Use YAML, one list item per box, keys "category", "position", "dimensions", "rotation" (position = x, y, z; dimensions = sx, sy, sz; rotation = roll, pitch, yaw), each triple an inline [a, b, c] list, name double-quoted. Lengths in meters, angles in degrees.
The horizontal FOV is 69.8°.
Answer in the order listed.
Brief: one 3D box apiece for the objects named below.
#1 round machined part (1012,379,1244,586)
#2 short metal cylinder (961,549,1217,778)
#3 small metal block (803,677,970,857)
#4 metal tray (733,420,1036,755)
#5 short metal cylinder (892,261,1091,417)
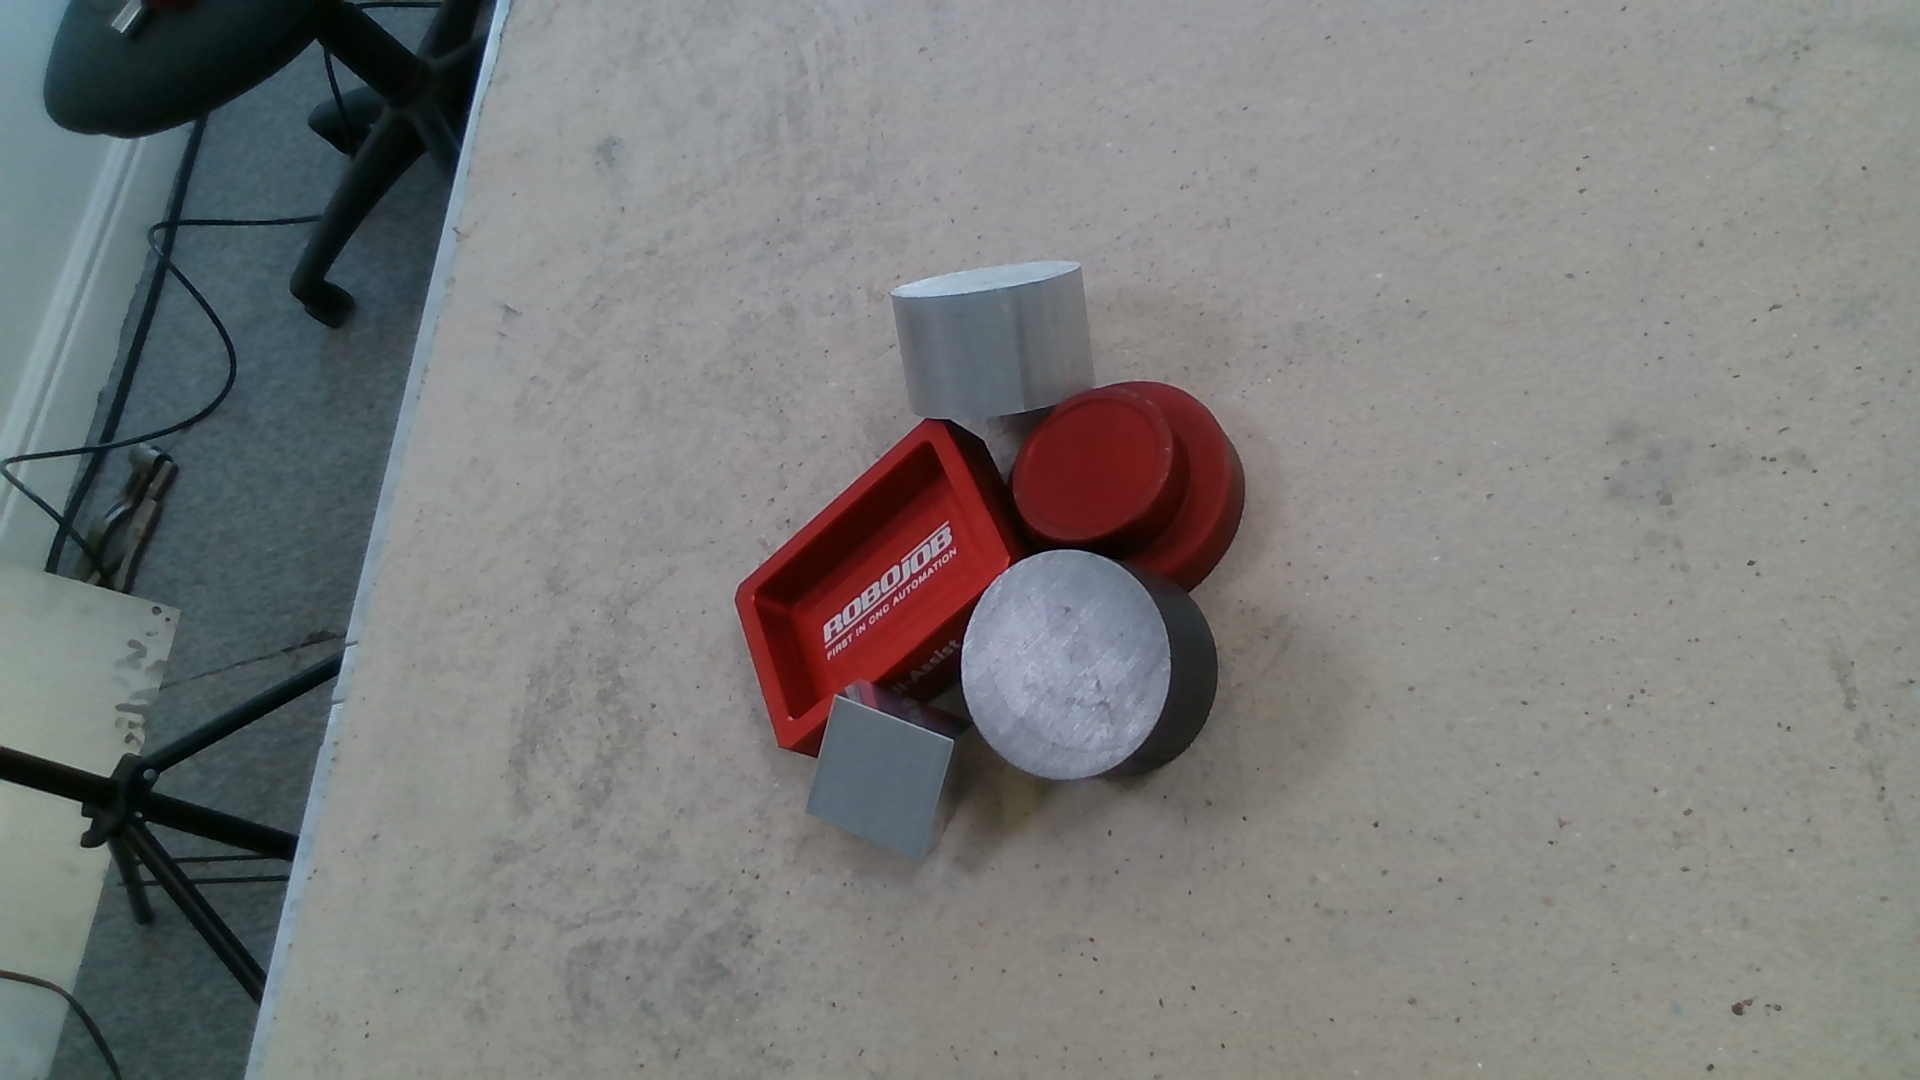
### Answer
- category: "round machined part"
  position: [0.060, -0.022, 0.550]
  dimensions: [0.098, 0.042, 0.098]
  rotation: [-14, 59, 25]
- category: "short metal cylinder"
  position: [0.047, 0.046, 0.503]
  dimensions: [0.080, 0.050, 0.080]
  rotation: [-4, 81, 28]
- category: "small metal block"
  position: [-0.028, 0.087, 0.534]
  dimensions: [0.050, 0.025, 0.050]
  rotation: [20, 104, 14]
- category: "metal tray"
  position: [-0.032, 0.020, 0.578]
  dimensions: [0.130, 0.030, 0.090]
  rotation: [-40, 51, 20]
- category: "short metal cylinder"
  position: [0.014, -0.086, 0.579]
  dimensions: [0.080, 0.080, 0.050]
  rotation: [2, 110, 32]
